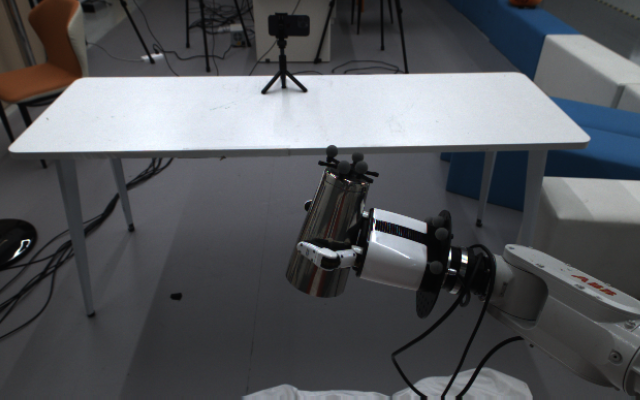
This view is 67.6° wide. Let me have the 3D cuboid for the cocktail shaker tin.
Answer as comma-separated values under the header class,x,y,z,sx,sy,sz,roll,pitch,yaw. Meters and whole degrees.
class,x,y,z,sx,sy,sz,roll,pitch,yaw
cocktail shaker tin,0.016,0.041,0.691,0.093,0.170,0.093,15,20,-5
